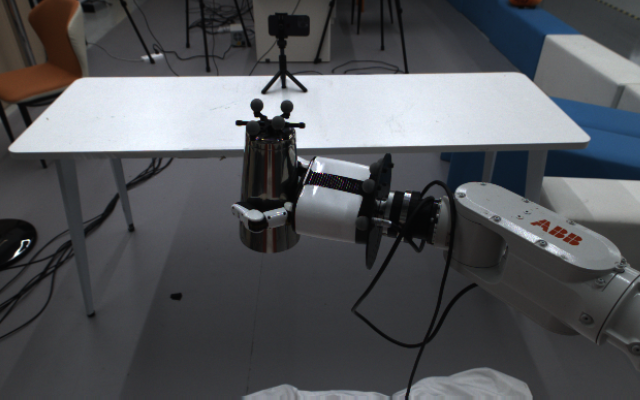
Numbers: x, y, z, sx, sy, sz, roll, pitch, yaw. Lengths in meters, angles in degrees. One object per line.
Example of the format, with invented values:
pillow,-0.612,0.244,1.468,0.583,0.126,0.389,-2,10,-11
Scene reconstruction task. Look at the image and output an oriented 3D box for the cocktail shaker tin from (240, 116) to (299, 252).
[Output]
cocktail shaker tin,-0.067,-0.021,0.675,0.093,0.170,0.093,3,34,-2
